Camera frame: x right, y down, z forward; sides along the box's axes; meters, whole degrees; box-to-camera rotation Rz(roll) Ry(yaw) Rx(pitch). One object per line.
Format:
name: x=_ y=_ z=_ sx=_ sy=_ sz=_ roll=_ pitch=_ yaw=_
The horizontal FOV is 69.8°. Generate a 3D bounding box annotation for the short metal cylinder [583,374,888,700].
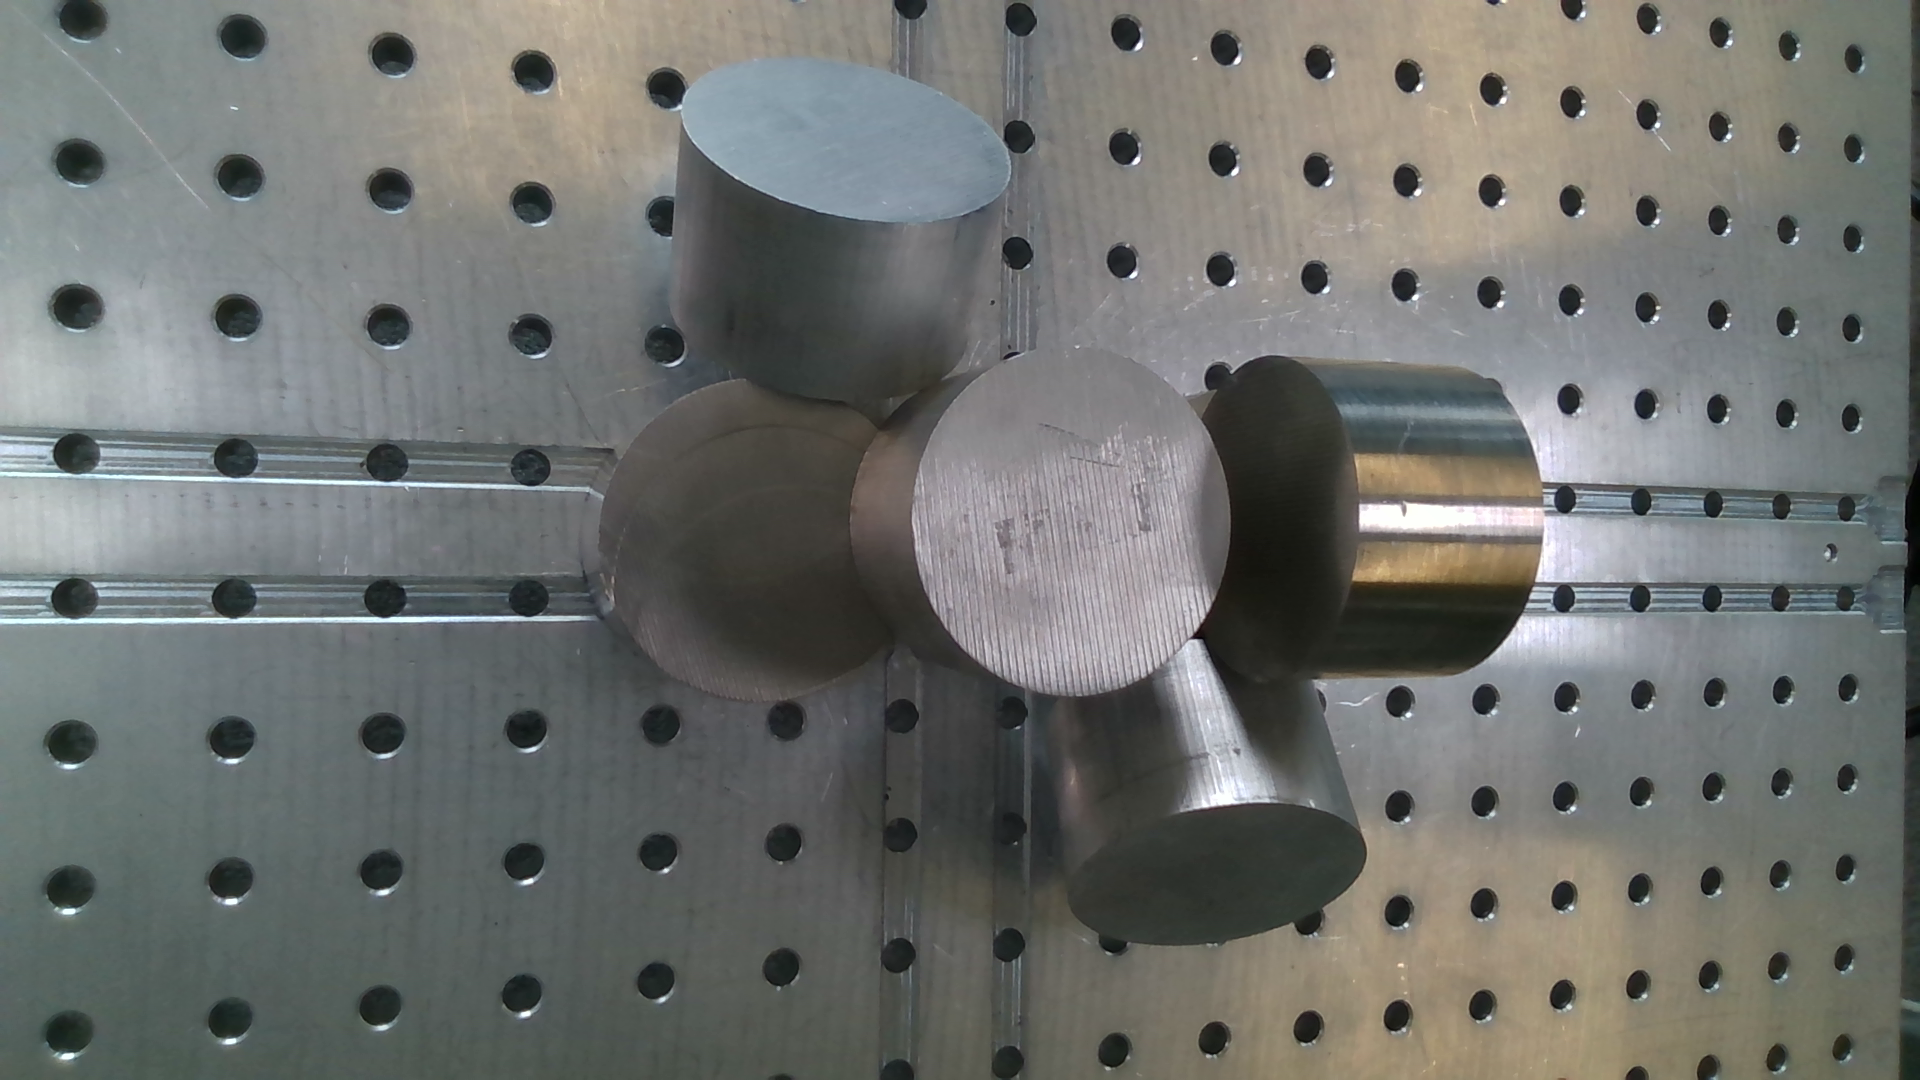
short metal cylinder: x=-0.057 y=-0.001 z=0.362 sx=0.080 sy=0.050 sz=0.080 roll=0 pitch=90 yaw=-19

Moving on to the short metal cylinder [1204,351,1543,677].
short metal cylinder: x=0.098 y=-0.006 z=0.349 sx=0.050 sy=0.080 sz=0.080 roll=0 pitch=90 yaw=-20

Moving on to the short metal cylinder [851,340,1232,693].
short metal cylinder: x=0.018 y=-0.005 z=0.336 sx=0.080 sy=0.050 sz=0.080 roll=0 pitch=90 yaw=-20

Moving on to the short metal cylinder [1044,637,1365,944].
short metal cylinder: x=0.066 y=0.071 z=0.384 sx=0.080 sy=0.080 sz=0.050 roll=11 pitch=46 yaw=-20

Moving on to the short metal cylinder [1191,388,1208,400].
short metal cylinder: x=0.071 y=-0.004 z=0.409 sx=0.080 sy=0.050 sz=0.080 roll=0 pitch=90 yaw=-20

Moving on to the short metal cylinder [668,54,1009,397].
short metal cylinder: x=-0.032 y=-0.081 z=0.349 sx=0.080 sy=0.080 sz=0.050 roll=-2 pitch=135 yaw=-20
